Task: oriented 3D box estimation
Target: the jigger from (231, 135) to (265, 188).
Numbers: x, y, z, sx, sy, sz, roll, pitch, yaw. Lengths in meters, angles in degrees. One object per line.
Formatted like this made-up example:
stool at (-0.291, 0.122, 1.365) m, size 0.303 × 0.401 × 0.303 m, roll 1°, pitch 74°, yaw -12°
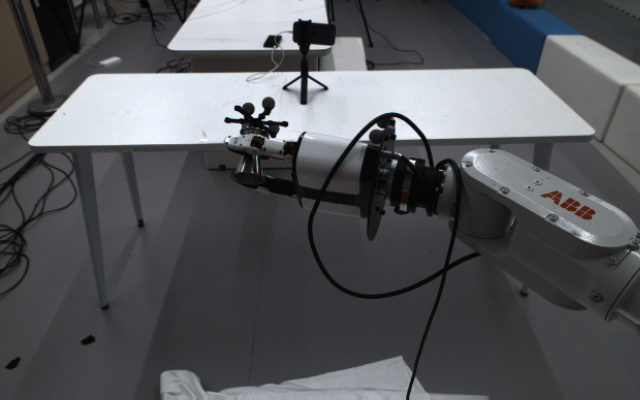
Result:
jigger at (-0.094, -0.060, 0.658) m, size 0.043 × 0.043 × 0.071 m, roll 4°, pitch 71°, yaw 3°
